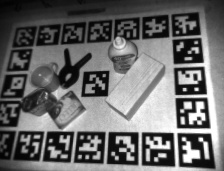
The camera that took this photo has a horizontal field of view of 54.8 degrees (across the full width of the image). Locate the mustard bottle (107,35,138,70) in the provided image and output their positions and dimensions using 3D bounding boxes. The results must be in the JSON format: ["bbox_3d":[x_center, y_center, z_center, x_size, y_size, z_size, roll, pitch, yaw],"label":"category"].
[{"bbox_3d":[0.031,-0.112,0.714,0.096,0.193,0.058,-8,71,11],"label":"mustard bottle"}]

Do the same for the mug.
[{"bbox_3d":[-0.243,-0.035,0.827,0.092,0.082,0.117,20,79,17],"label":"mug"}]

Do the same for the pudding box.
[{"bbox_3d":[-0.163,0.084,0.771,0.114,0.039,0.089,-39,69,-5],"label":"pudding box"}]

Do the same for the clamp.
[{"bbox_3d":[-0.161,-0.075,0.829,0.121,0.037,0.165,17,78,15],"label":"clamp"}]

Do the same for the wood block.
[{"bbox_3d":[0.080,0.002,0.726,0.089,0.092,0.206,35,80,22],"label":"wood block"}]

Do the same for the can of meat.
[{"bbox_3d":[-0.264,0.059,0.770,0.102,0.084,0.057,-31,69,0],"label":"can of meat"}]
